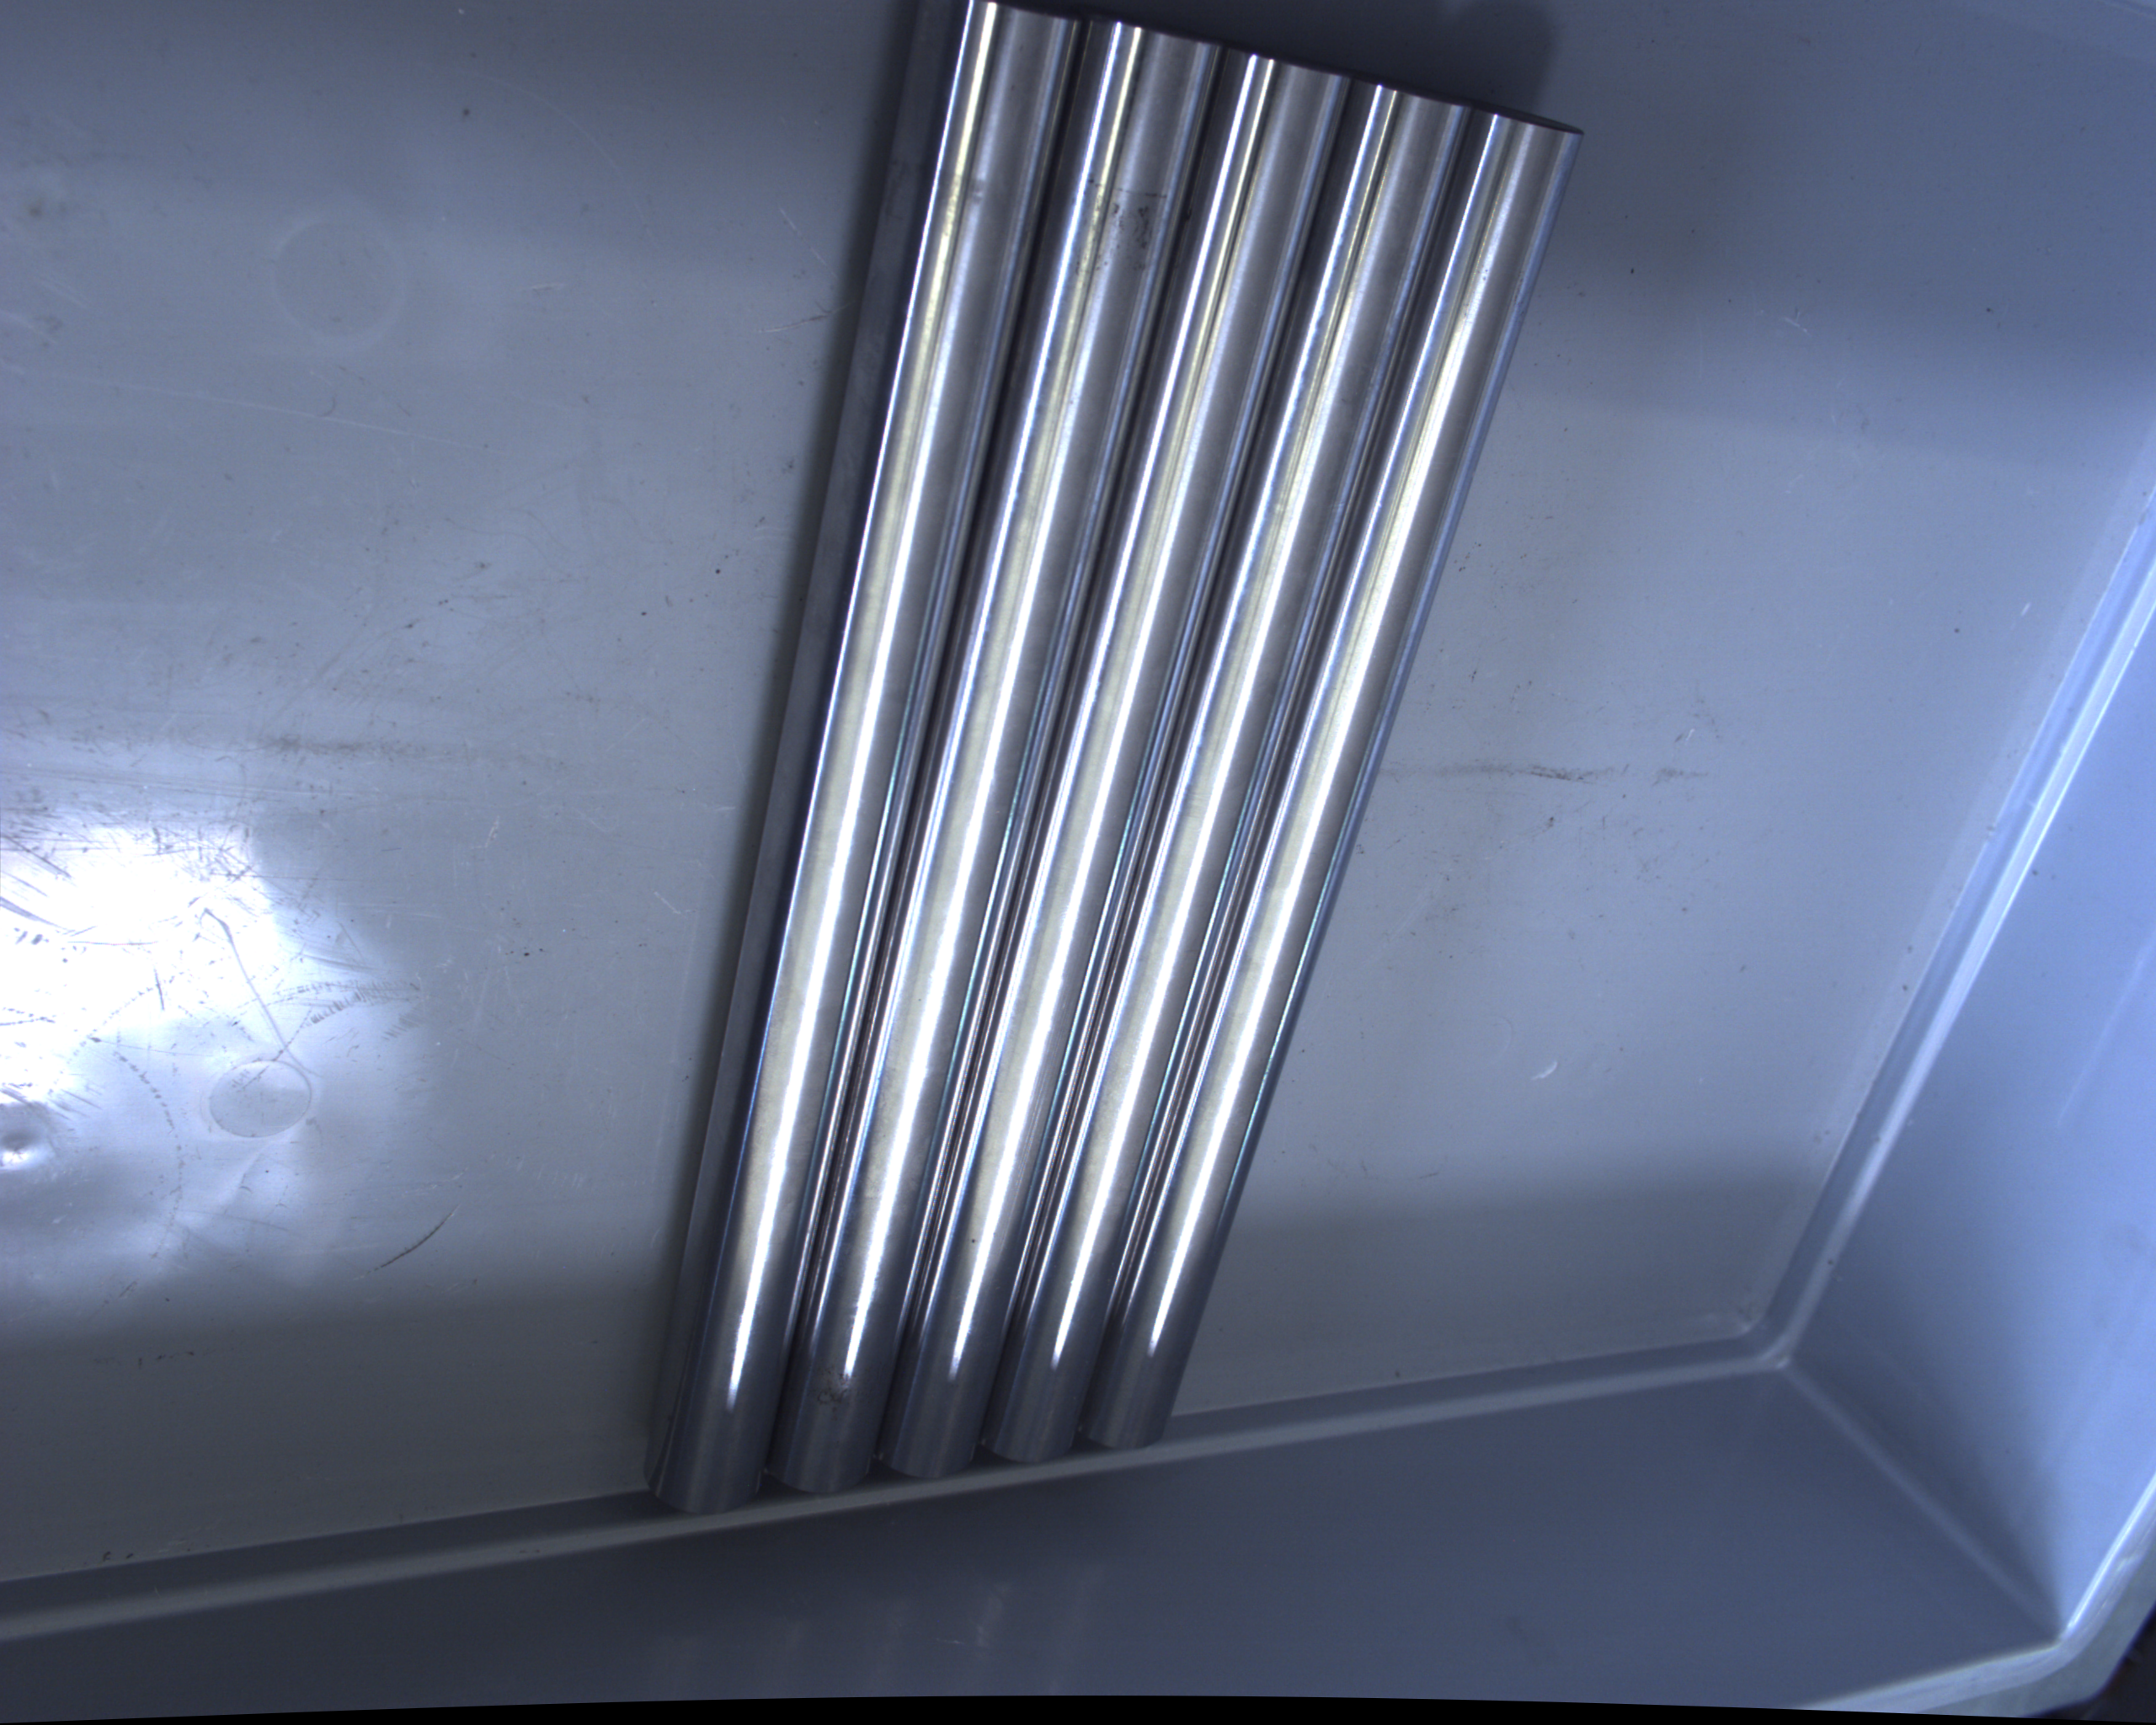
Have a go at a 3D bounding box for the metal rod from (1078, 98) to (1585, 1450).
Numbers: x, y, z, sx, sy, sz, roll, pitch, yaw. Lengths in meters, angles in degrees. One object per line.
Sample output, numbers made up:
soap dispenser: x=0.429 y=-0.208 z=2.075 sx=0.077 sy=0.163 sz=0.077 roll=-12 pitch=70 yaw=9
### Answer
metal rod: x=0.043 y=-0.001 z=0.430 sx=0.025 sy=0.025 sz=0.298 roll=0 pitch=118 yaw=-29

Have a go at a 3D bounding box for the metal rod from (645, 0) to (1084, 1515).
metal rod: x=-0.045 y=-0.001 z=0.381 sx=0.025 sy=0.025 sz=0.298 roll=0 pitch=118 yaw=-29

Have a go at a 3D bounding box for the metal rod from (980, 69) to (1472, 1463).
metal rod: x=0.021 y=-0.001 z=0.417 sx=0.025 sy=0.025 sz=0.298 roll=0 pitch=118 yaw=-29

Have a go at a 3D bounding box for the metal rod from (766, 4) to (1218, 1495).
metal rod: x=-0.024 y=-0.002 z=0.392 sx=0.025 sy=0.025 sz=0.298 roll=0 pitch=118 yaw=-29

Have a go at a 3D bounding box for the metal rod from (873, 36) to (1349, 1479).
metal rod: x=-0.002 y=-0.002 z=0.405 sx=0.025 sy=0.025 sz=0.298 roll=0 pitch=118 yaw=-29
